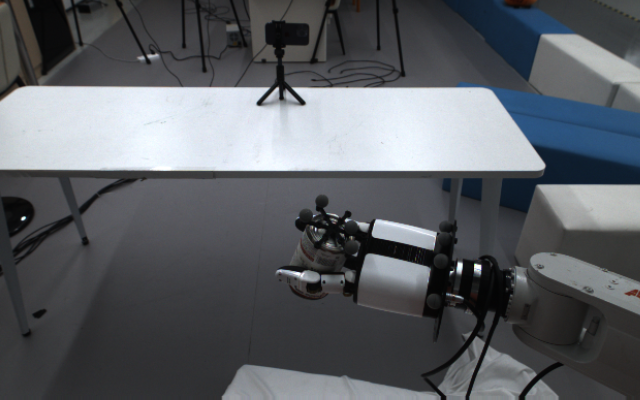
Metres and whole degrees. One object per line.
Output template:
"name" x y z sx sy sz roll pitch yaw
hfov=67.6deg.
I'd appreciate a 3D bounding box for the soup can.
"soup can" 0.001 0.077 0.646 0.067 0.101 0.067 14 39 -12
